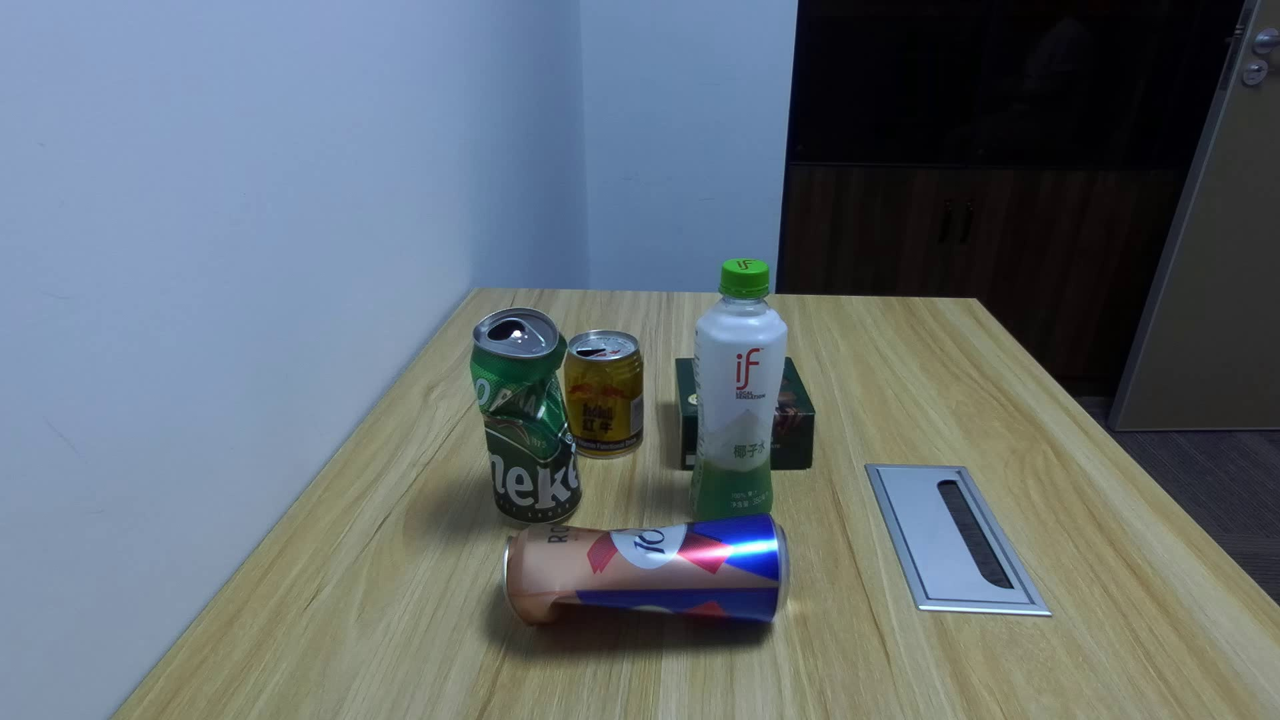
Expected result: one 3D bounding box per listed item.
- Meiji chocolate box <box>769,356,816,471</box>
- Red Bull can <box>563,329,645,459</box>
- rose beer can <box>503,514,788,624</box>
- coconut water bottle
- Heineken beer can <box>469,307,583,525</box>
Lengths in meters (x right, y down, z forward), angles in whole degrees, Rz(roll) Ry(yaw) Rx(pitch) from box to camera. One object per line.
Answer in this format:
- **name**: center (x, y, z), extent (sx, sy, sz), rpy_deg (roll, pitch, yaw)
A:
- **Meiji chocolate box**: center (0.087, 0.044, 0.612), extent (0.109, 0.056, 0.110), rpy_deg (-1, 24, 0)
- **Red Bull can**: center (-0.030, 0.028, 0.598), extent (0.069, 0.092, 0.069), rpy_deg (0, 26, 0)
- **rose beer can**: center (0.004, 0.125, 0.426), extent (0.168, 0.069, 0.070), rpy_deg (-2, 45, 1)
- **coconut water bottle**: center (0.068, 0.026, 0.488), extent (0.063, 0.189, 0.063), rpy_deg (1, 24, 0)
- **Heineken beer can**: center (-0.080, 0.043, 0.500), extent (0.067, 0.159, 0.078), rpy_deg (-13, 34, -18)
